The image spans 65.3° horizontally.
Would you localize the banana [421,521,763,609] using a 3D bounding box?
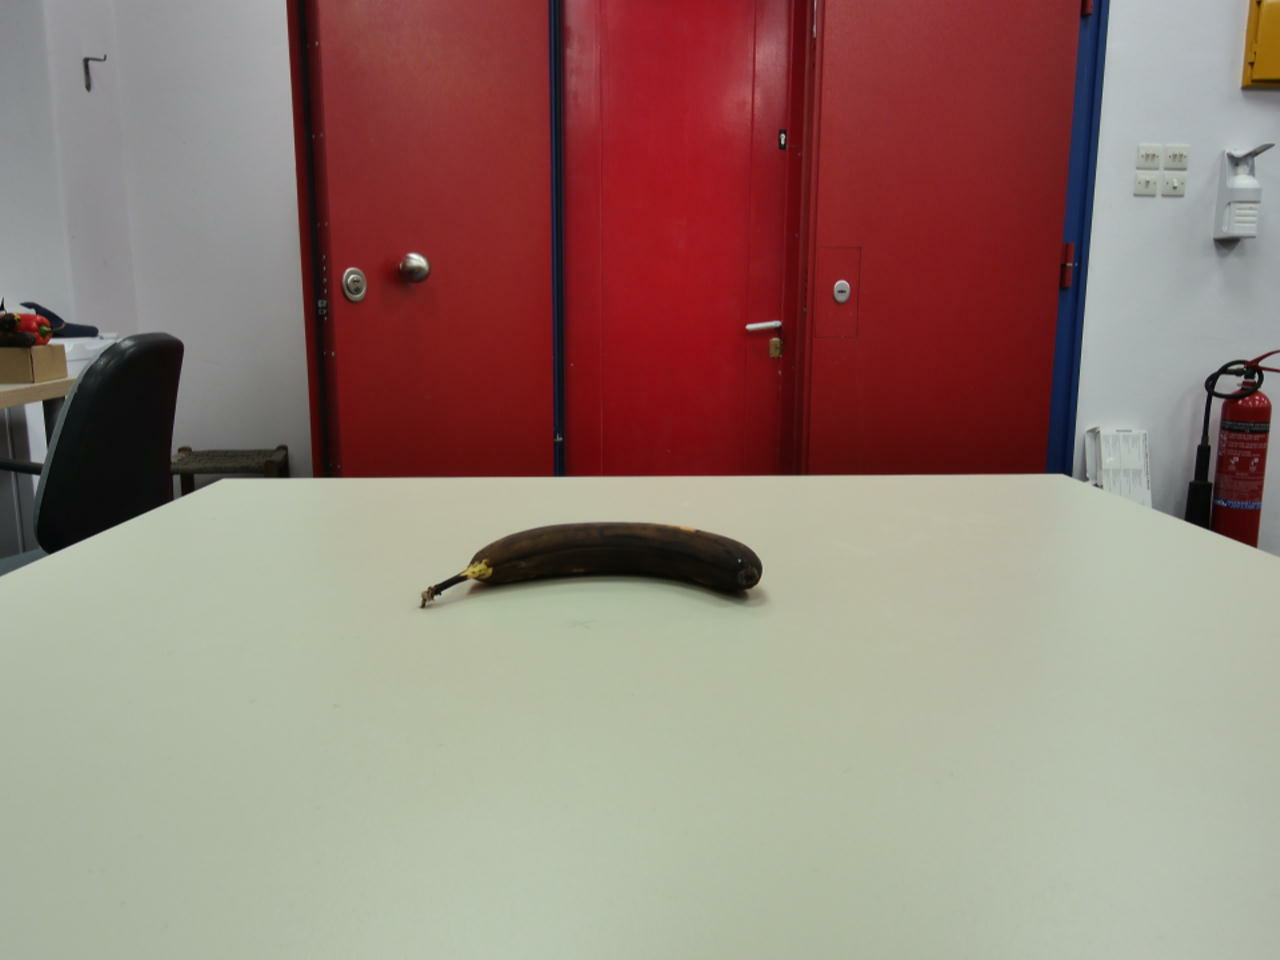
[{"bbox_3d":[-0.024,0.045,0.585,0.188,0.033,0.091,0,8,1],"label":"banana"}]
